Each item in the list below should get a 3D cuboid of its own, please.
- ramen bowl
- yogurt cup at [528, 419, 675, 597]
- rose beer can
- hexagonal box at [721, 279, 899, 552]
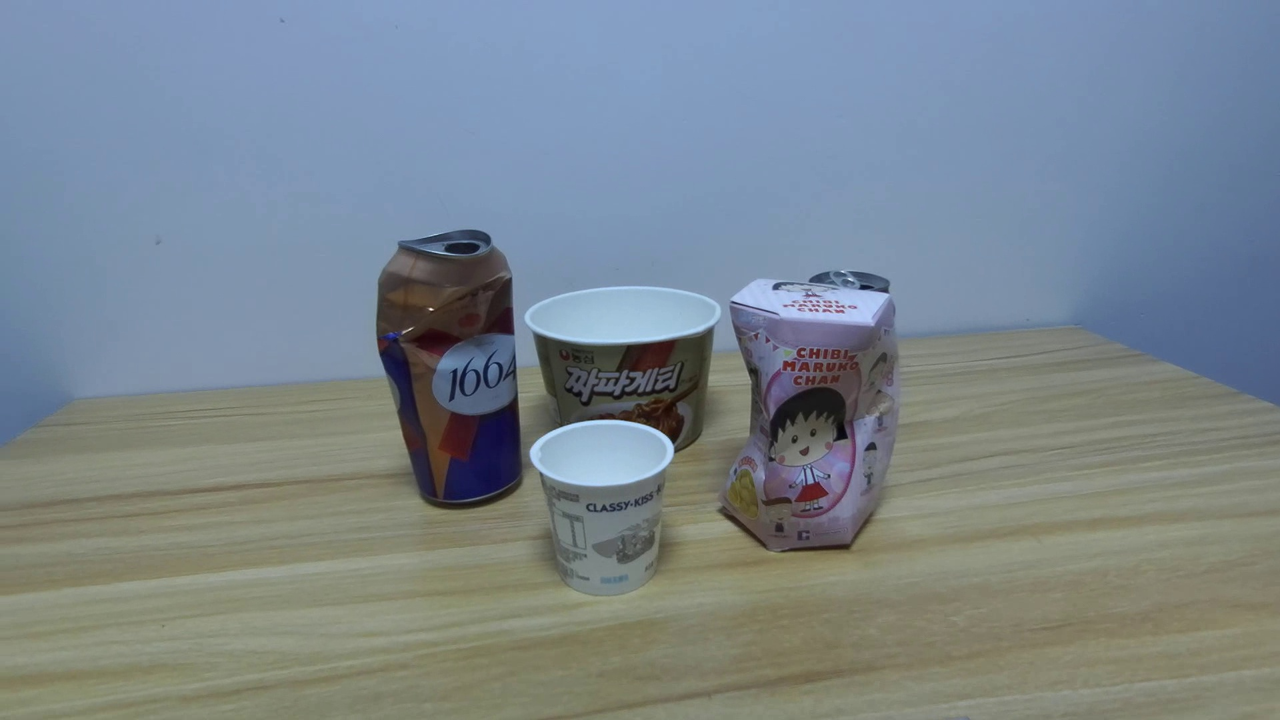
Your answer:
[{"bbox_3d":[-0.010,0.008,0.516,0.140,0.095,0.140,-1,19,1],"label":"ramen bowl"},{"bbox_3d":[-0.017,0.076,0.362,0.072,0.068,0.072,-1,20,1],"label":"yogurt cup"},{"bbox_3d":[-0.111,0.006,0.433,0.068,0.162,0.073,0,21,2],"label":"rose beer can"},{"bbox_3d":[0.087,0.029,0.392,0.089,0.134,0.093,-14,23,-33],"label":"hexagonal box"}]
